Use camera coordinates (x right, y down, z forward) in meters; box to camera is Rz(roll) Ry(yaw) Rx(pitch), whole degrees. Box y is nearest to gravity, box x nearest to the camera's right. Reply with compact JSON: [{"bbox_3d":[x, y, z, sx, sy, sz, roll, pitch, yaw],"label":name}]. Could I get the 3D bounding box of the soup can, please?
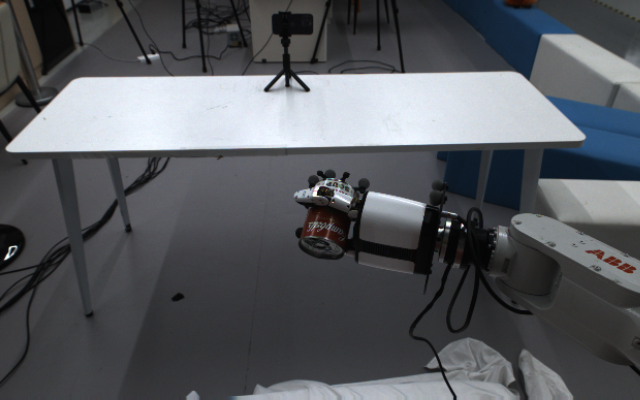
[{"bbox_3d":[0.013,0.027,0.705,0.067,0.067,0.101,9,58,10],"label":"soup can"}]
